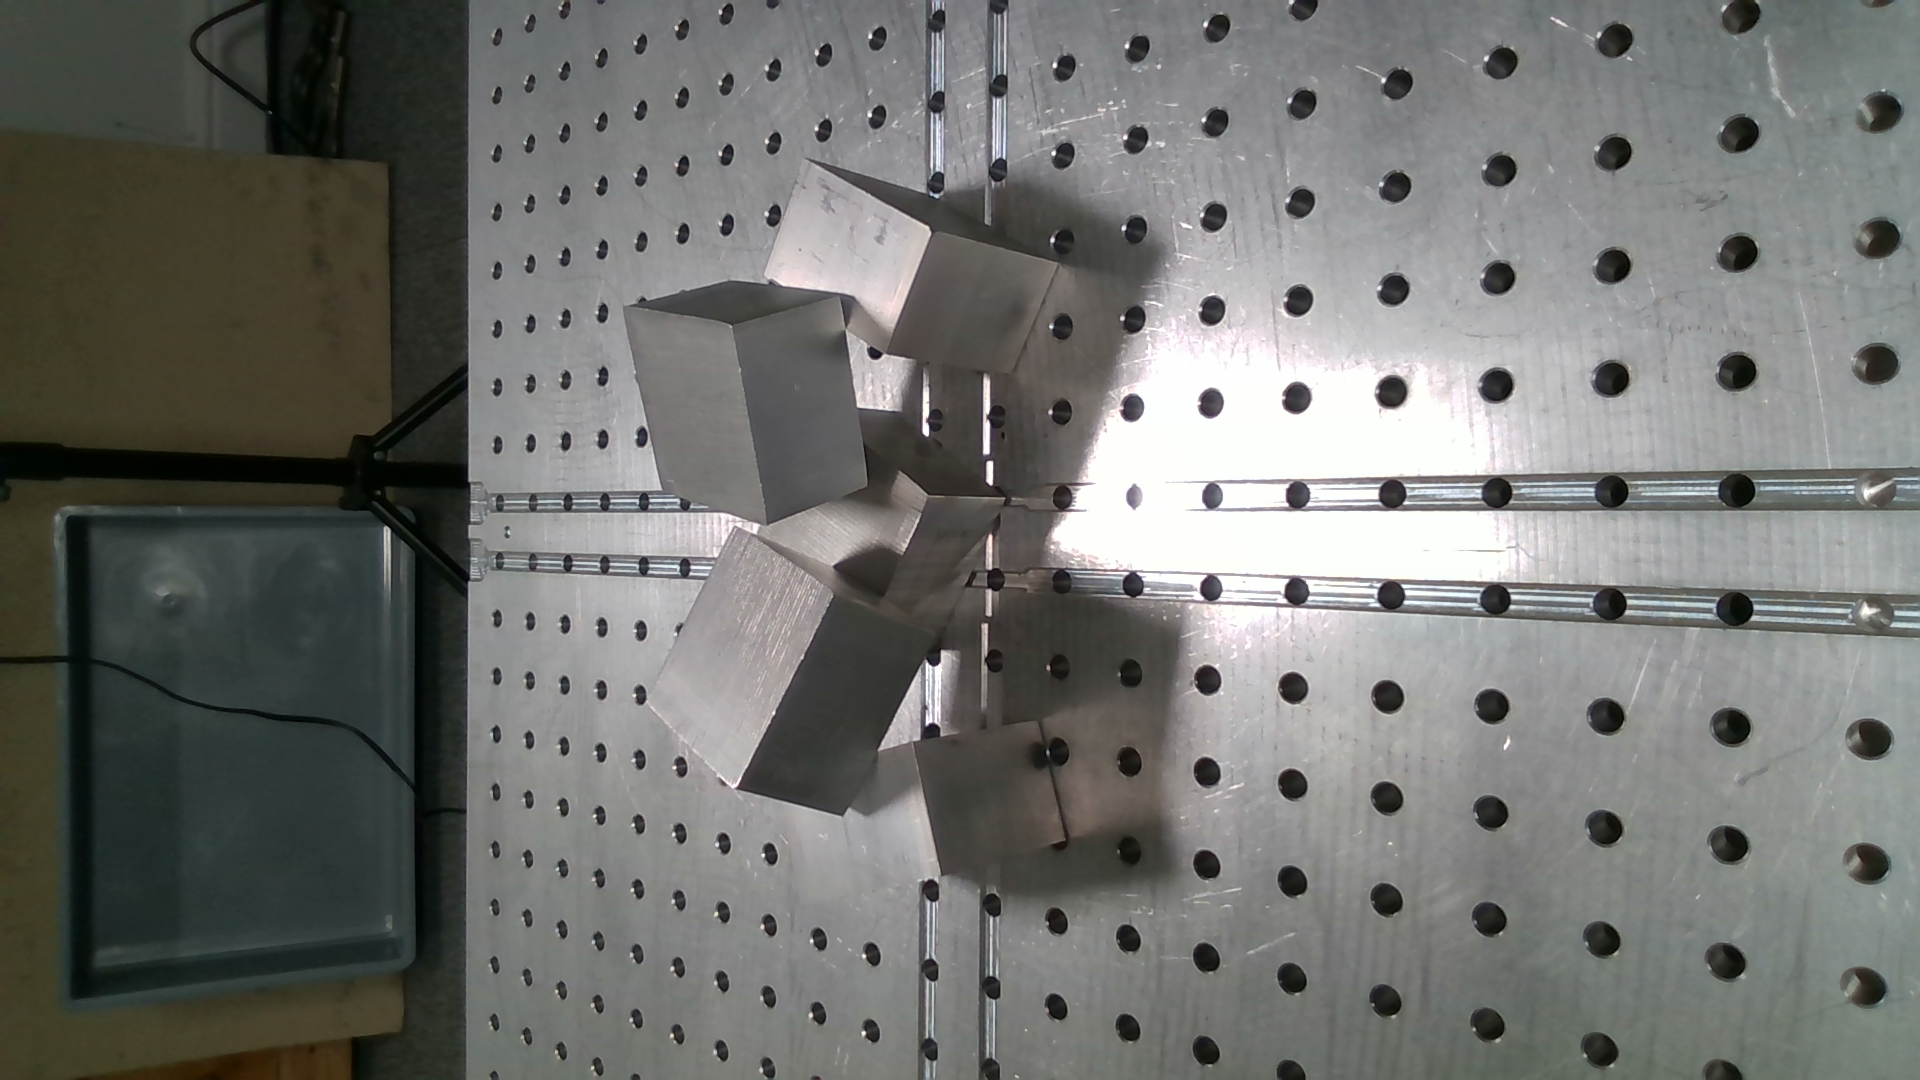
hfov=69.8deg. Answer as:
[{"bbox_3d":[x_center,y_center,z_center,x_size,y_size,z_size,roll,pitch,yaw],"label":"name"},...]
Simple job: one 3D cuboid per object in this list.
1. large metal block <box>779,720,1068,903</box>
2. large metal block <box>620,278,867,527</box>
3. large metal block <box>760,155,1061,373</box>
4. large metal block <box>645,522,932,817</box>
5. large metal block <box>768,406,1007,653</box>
[{"bbox_3d":[-0.016,0.111,0.564,0.080,0.080,0.050,-21,77,38],"label":"large metal block"},{"bbox_3d":[-0.087,-0.058,0.556,0.080,0.050,0.080,17,122,46],"label":"large metal block"},{"bbox_3d":[-0.020,-0.112,0.564,0.080,0.080,0.050,37,113,34],"label":"large metal block"},{"bbox_3d":[-0.068,0.049,0.536,0.080,0.050,0.080,29,94,50],"label":"large metal block"},{"bbox_3d":[-0.038,-0.005,0.600,0.080,0.050,0.080,39,114,33],"label":"large metal block"}]
